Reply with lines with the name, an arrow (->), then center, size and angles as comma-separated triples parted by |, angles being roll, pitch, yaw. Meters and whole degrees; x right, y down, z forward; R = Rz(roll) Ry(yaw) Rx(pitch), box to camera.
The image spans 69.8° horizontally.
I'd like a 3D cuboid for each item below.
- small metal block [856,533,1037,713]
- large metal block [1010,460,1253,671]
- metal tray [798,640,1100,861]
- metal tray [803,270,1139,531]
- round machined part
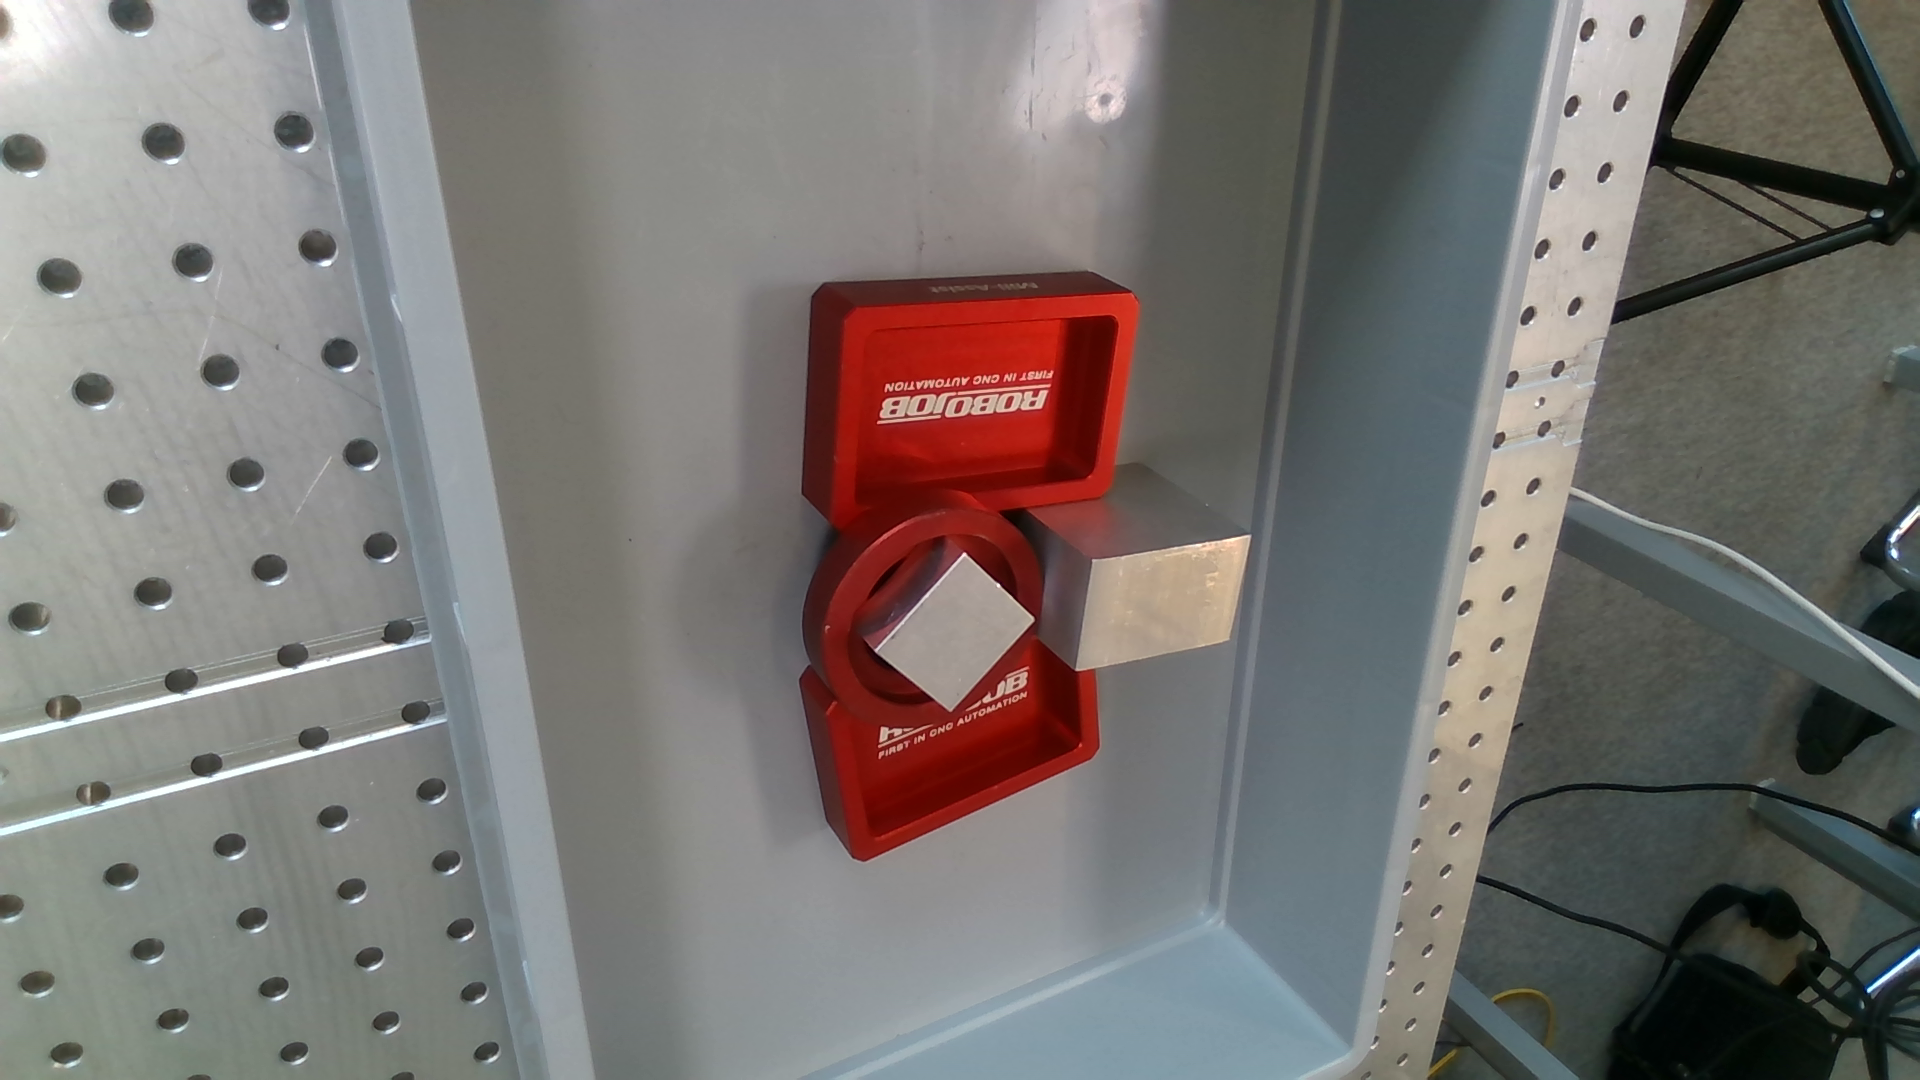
small metal block -> -0.006, 0.031, 0.539 | 0.050, 0.025, 0.050 | -47, 129, -1
large metal block -> 0.064, 0.008, 0.588 | 0.080, 0.080, 0.050 | -8, 119, -28
metal tray -> -0.001, 0.078, 0.618 | 0.130, 0.030, 0.090 | -20, 124, -21
metal tray -> 0.004, -0.057, 0.548 | 0.130, 0.030, 0.090 | -8, 119, -28
round machined part -> -0.019, 0.024, 0.558 | 0.098, 0.042, 0.098 | -14, 122, -25
